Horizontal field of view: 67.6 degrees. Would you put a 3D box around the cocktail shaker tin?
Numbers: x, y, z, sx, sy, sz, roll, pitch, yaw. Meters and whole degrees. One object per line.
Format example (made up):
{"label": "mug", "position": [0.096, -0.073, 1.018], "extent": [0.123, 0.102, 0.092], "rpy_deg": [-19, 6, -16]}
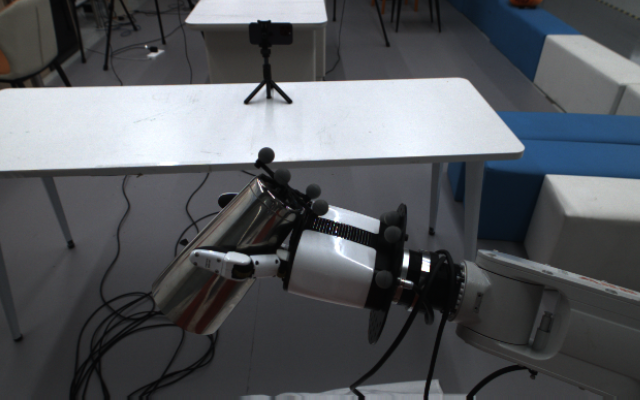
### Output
{"label": "cocktail shaker tin", "position": [-0.095, 0.053, 0.536], "extent": [0.093, 0.170, 0.093], "rpy_deg": [41, 12, -11]}
